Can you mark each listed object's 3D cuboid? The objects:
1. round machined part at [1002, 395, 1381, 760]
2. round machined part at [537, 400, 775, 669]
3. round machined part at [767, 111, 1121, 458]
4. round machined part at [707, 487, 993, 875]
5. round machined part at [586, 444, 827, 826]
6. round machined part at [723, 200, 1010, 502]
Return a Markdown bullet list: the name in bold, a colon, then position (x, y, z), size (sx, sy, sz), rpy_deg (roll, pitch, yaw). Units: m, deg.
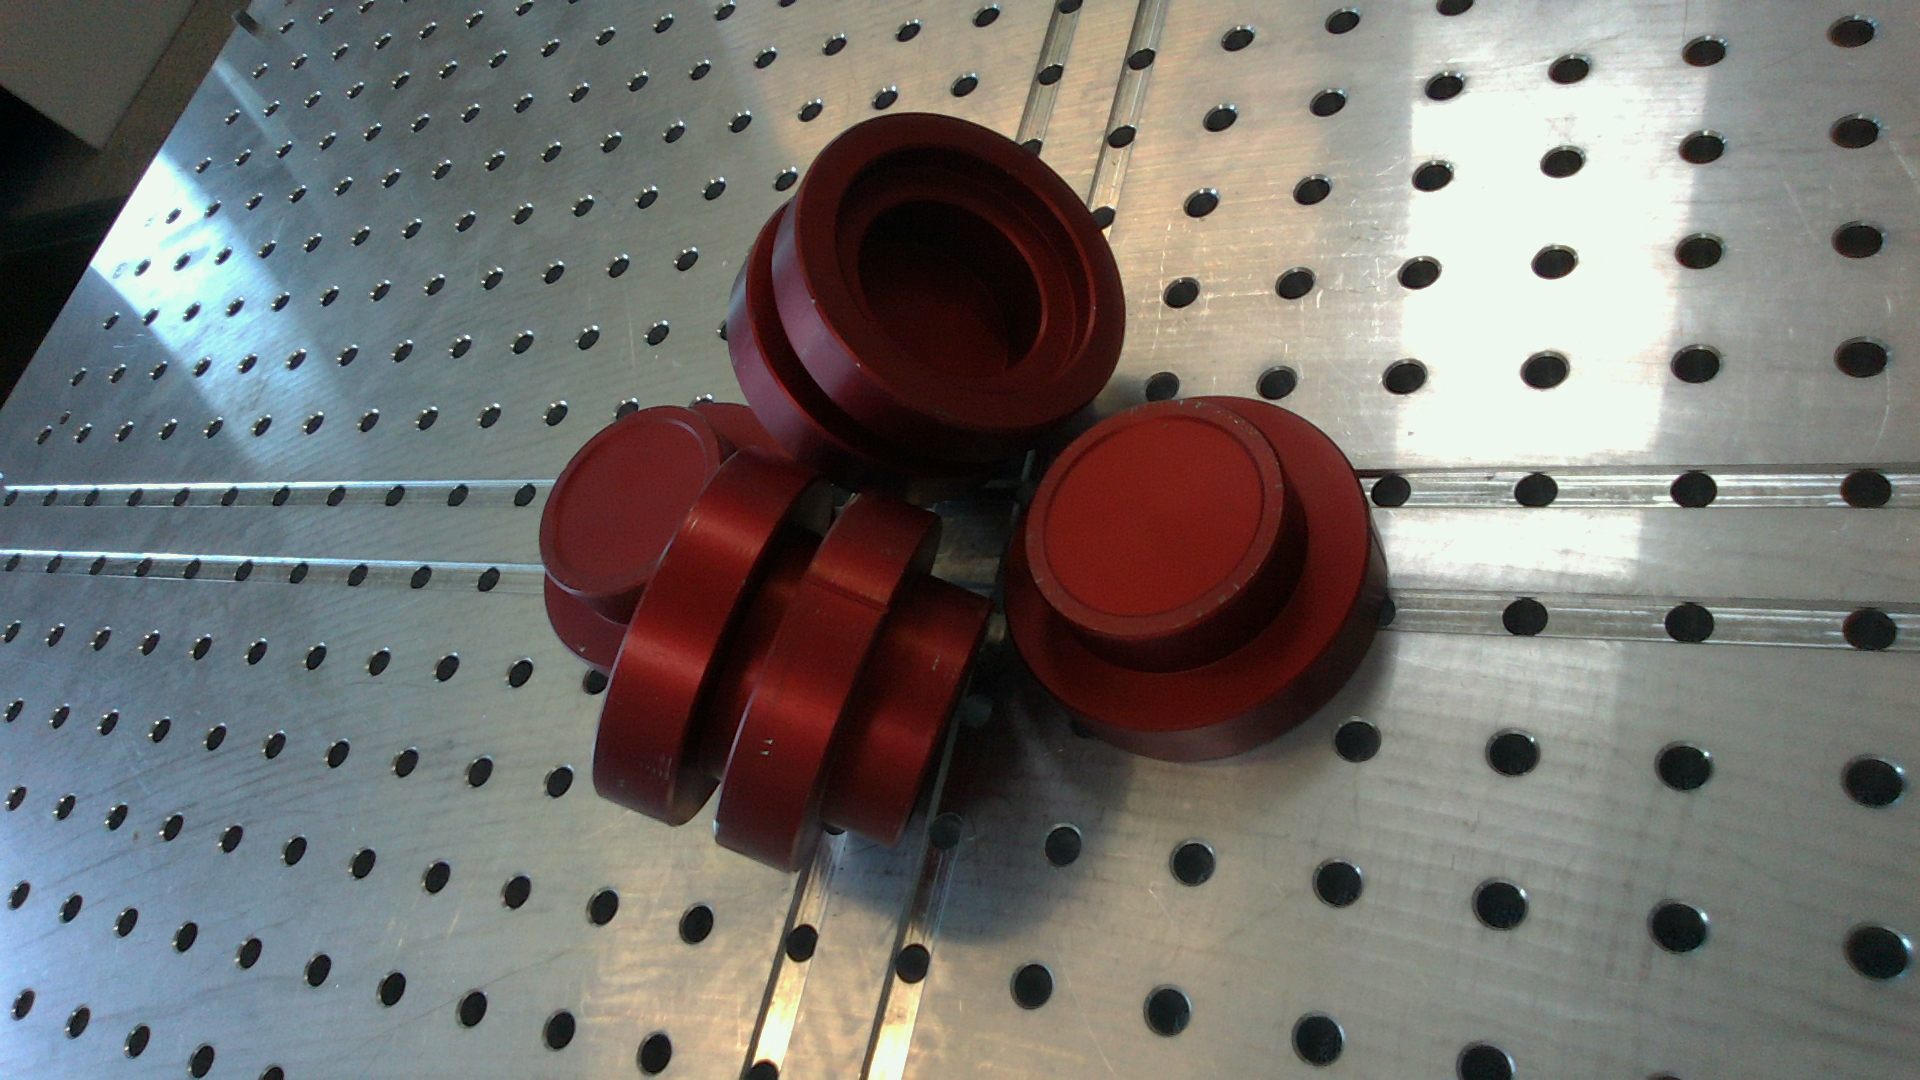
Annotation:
- **round machined part**: position (0.055, 0.003, 0.354), size (0.098, 0.042, 0.098), rpy_deg (-13, 56, 21)
- **round machined part**: position (-0.094, -0.004, 0.438), size (0.098, 0.042, 0.098), rpy_deg (-13, 56, 21)
- **round machined part**: position (-0.007, -0.067, 0.386), size (0.042, 0.098, 0.098), rpy_deg (-41, 34, 56)
- **round machined part**: position (-0.023, 0.039, 0.350), size (0.042, 0.098, 0.098), rpy_deg (22, 71, 3)
- **round machined part**: position (-0.054, 0.028, 0.355), size (0.042, 0.098, 0.098), rpy_deg (22, 71, 3)
- **round machined part**: position (-0.023, -0.056, 0.412), size (0.042, 0.098, 0.098), rpy_deg (-41, 34, 56)
